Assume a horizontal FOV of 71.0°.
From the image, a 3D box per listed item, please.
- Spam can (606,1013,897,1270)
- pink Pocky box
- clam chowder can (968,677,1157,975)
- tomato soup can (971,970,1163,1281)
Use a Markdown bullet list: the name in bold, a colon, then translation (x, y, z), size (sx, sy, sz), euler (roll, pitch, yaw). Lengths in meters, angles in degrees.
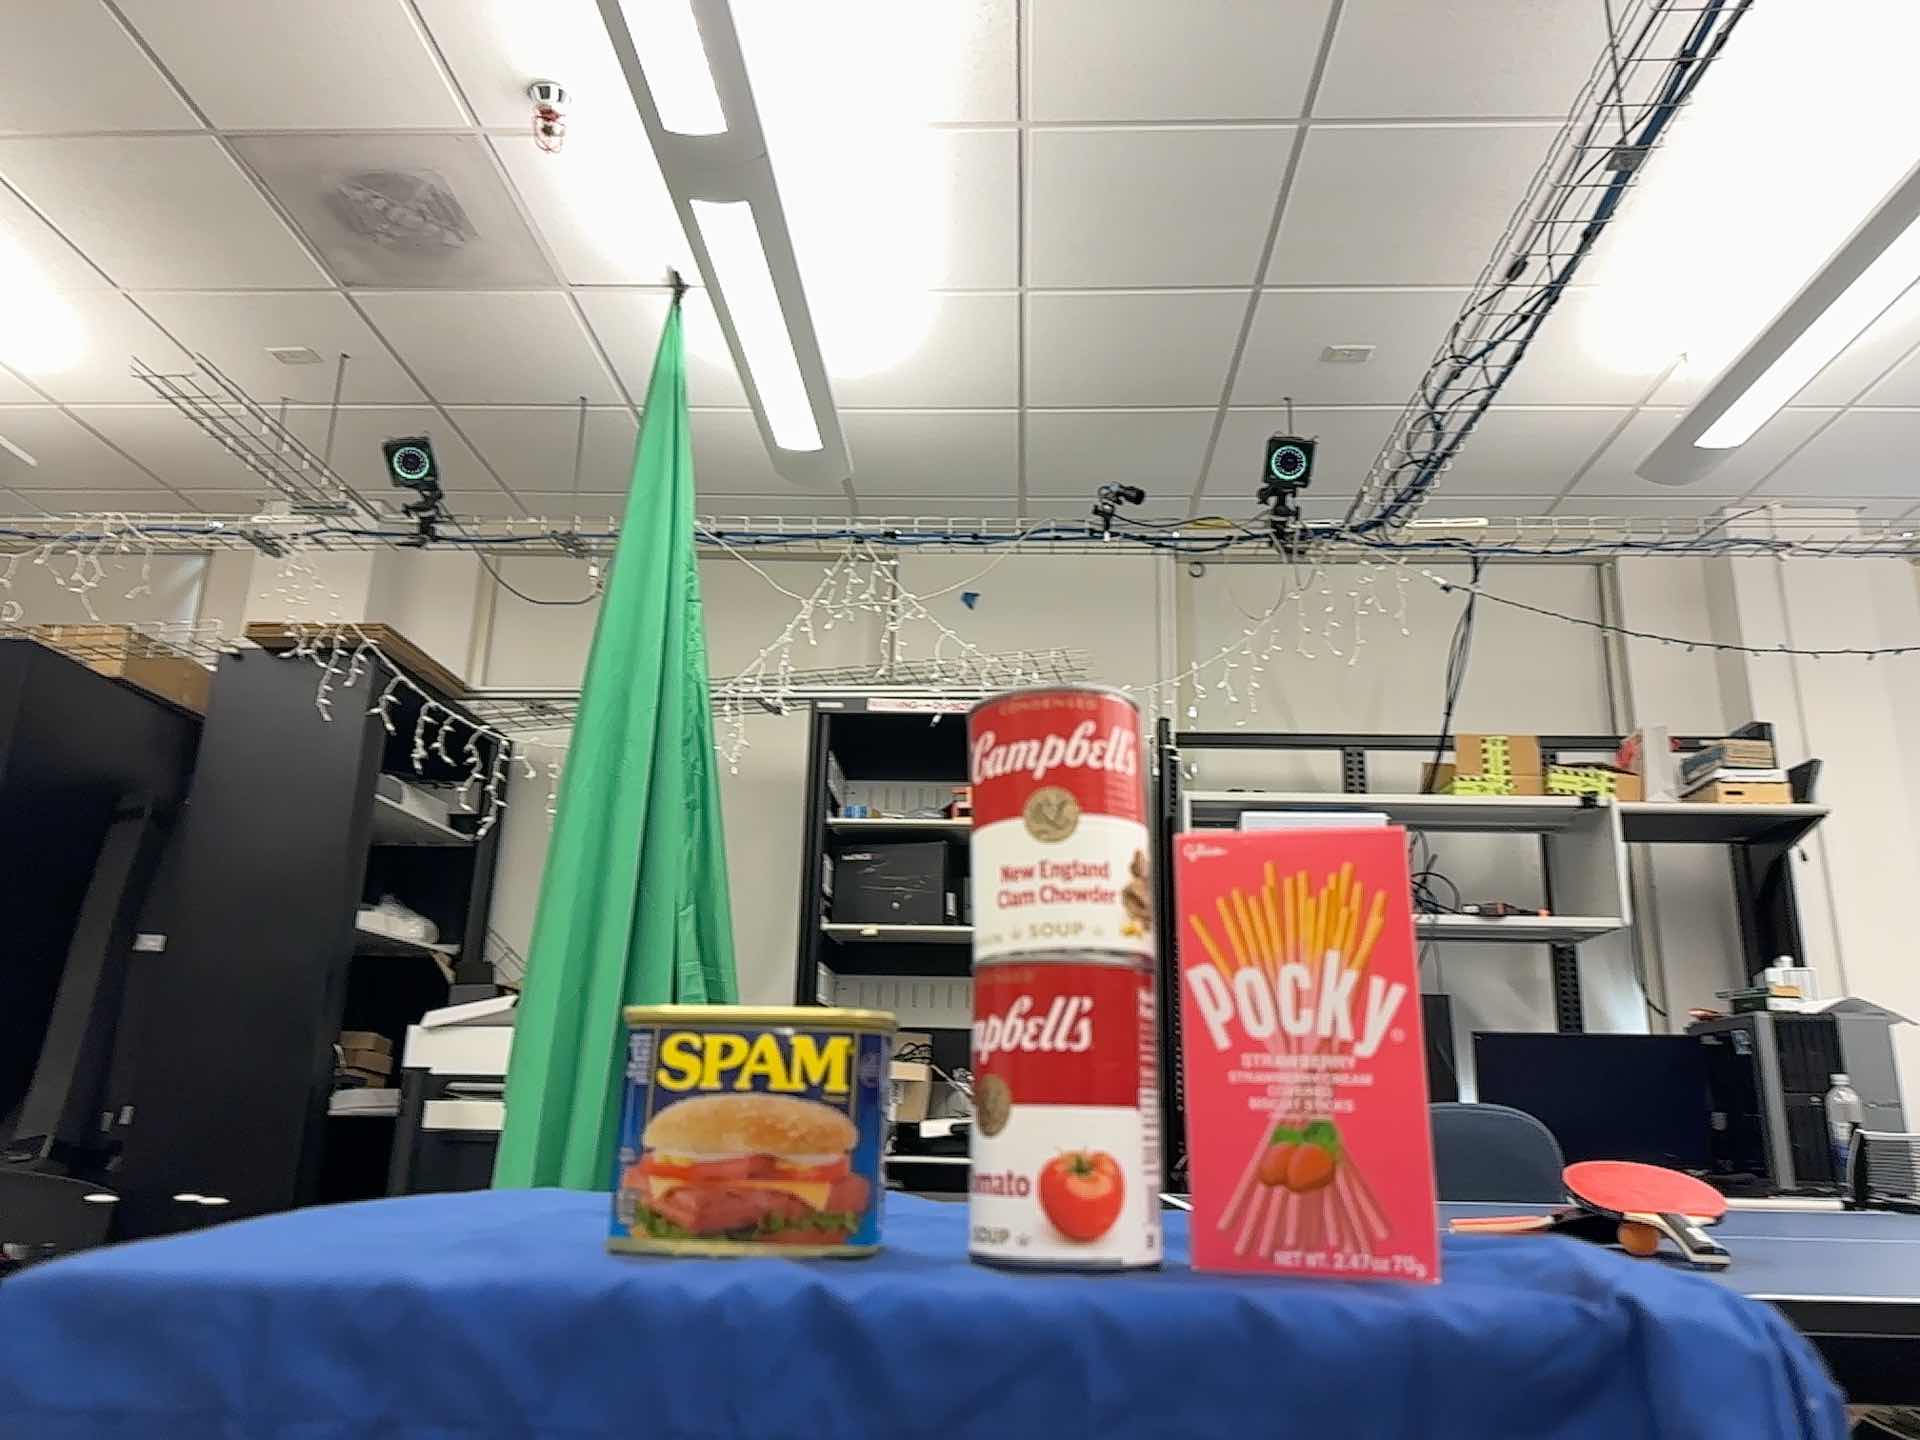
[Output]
- **Spam can**: translation (-0.077, 0.154, 0.499), size (0.100, 0.083, 0.056), euler (2, -15, 2)
- **pink Pocky box**: translation (0.117, 0.116, 0.465), size (0.084, 0.154, 0.029), euler (-4, -13, 14)
- **clam chowder can**: translation (0.037, 0.043, 0.504), size (0.068, 0.102, 0.068), euler (-1, -18, 0)
- **tomato soup can**: translation (0.038, 0.144, 0.483), size (0.067, 0.102, 0.067), euler (1, -16, 0)
